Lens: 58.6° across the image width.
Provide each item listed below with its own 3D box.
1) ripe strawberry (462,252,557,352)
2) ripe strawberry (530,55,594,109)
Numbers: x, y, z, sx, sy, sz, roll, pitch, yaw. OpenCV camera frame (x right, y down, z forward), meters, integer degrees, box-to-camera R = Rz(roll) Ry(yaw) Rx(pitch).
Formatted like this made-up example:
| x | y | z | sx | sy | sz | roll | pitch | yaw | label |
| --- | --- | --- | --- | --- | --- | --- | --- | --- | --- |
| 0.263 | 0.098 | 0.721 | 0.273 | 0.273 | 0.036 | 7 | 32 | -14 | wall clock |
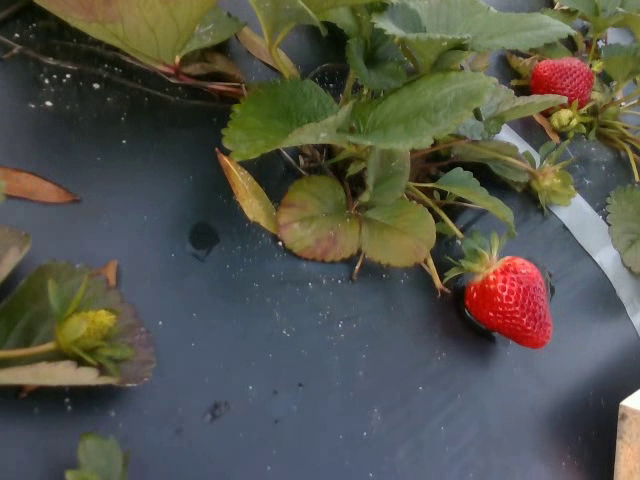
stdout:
| x | y | z | sx | sy | sz | roll | pitch | yaw | label |
| --- | --- | --- | --- | --- | --- | --- | --- | --- | --- |
| 0.084 | 0.026 | 0.246 | 0.036 | 0.046 | 0.040 | -22 | -26 | -23 | ripe strawberry |
| 0.168 | -0.116 | 0.403 | 0.062 | 0.043 | 0.042 | 15 | 2 | -30 | ripe strawberry |
